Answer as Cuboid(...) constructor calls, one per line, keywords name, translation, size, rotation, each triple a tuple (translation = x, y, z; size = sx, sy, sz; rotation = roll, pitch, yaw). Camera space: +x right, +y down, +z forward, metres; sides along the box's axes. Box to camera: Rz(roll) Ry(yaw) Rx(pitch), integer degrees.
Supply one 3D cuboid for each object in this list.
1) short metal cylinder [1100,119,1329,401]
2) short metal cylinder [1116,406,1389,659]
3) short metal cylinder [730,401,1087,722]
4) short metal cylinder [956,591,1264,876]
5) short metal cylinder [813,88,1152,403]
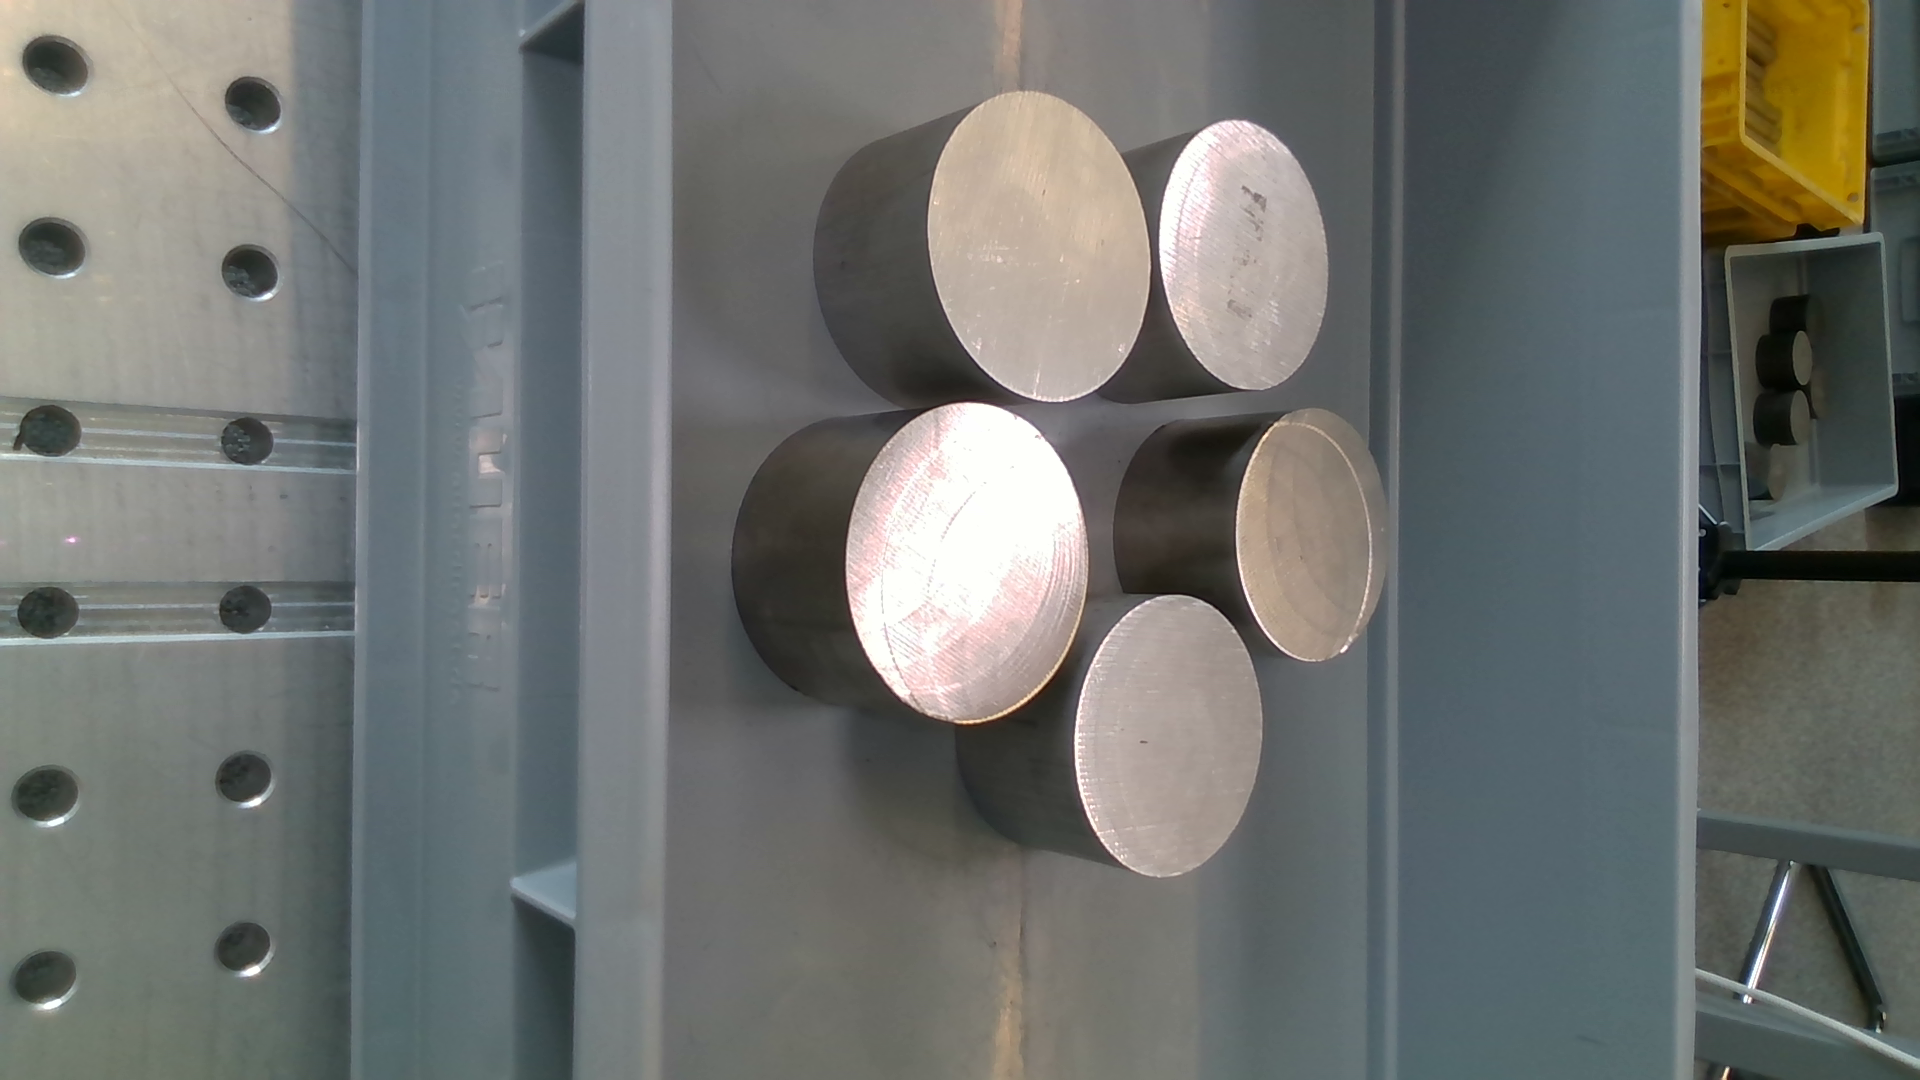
Cuboid(name="short metal cylinder", translation=(0.071, -0.086, 0.433), size=(0.080, 0.050, 0.080), rotation=(0, 90, -40))
Cuboid(name="short metal cylinder", translation=(0.097, -0.002, 0.455), size=(0.080, 0.050, 0.080), rotation=(0, 90, -40))
Cuboid(name="short metal cylinder", translation=(-0.013, 0.005, 0.362), size=(0.080, 0.050, 0.080), rotation=(0, 90, -40))
Cuboid(name="short metal cylinder", translation=(0.046, 0.056, 0.411), size=(0.080, 0.050, 0.080), rotation=(0, 90, -40))
Cuboid(name="short metal cylinder", translation=(0.007, -0.077, 0.379), size=(0.080, 0.050, 0.080), rotation=(0, 90, -40))
